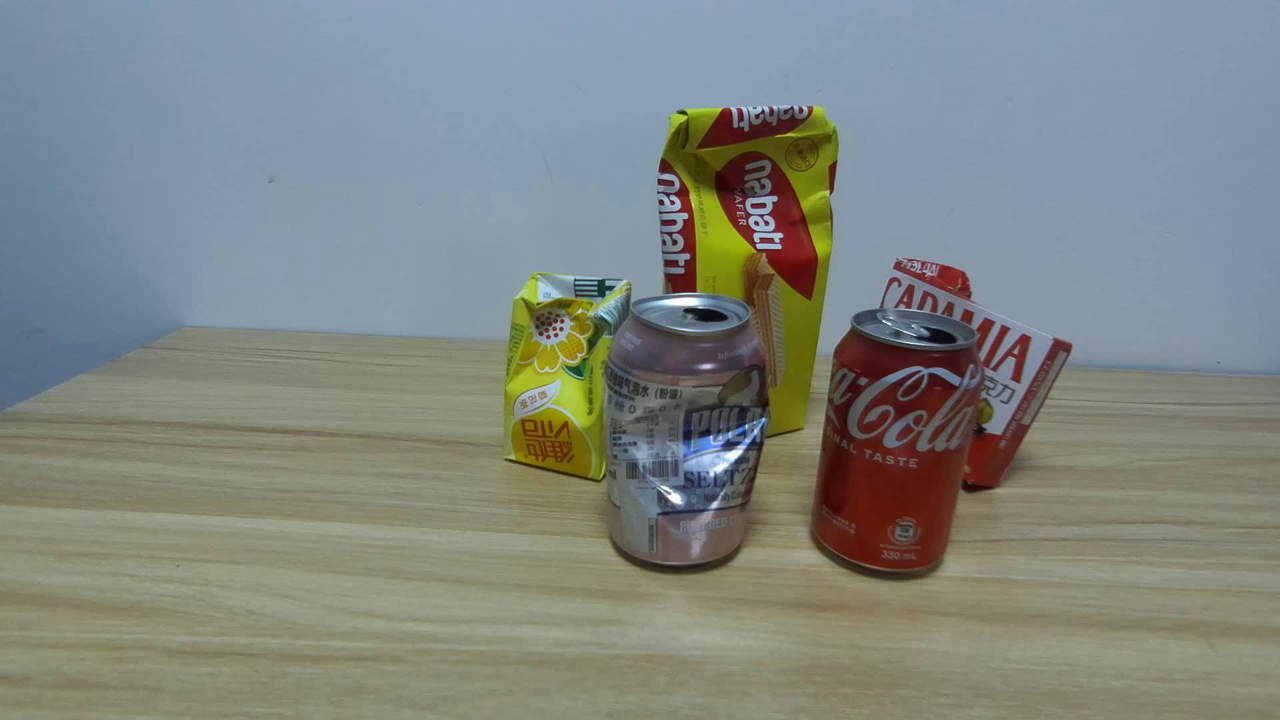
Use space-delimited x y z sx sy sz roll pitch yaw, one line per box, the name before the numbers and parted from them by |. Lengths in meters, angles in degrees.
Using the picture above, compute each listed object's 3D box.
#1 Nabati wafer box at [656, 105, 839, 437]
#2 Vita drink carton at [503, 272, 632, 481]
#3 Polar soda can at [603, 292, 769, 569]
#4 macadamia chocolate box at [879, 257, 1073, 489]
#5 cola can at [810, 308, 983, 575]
Nabati wafer box | 0.065 -0.047 0.435 0.114 0.205 0.042 -9 19 -26
Vita drink carton | -0.044 0.008 0.417 0.071 0.109 0.046 9 21 18
Polar soda can | 0.020 0.036 0.341 0.074 0.122 0.067 4 14 13
macadamia chocolate box | 0.195 0.004 0.447 0.056 0.112 0.126 -3 21 -19
cola can | 0.122 0.039 0.341 0.068 0.120 0.068 3 19 -1
